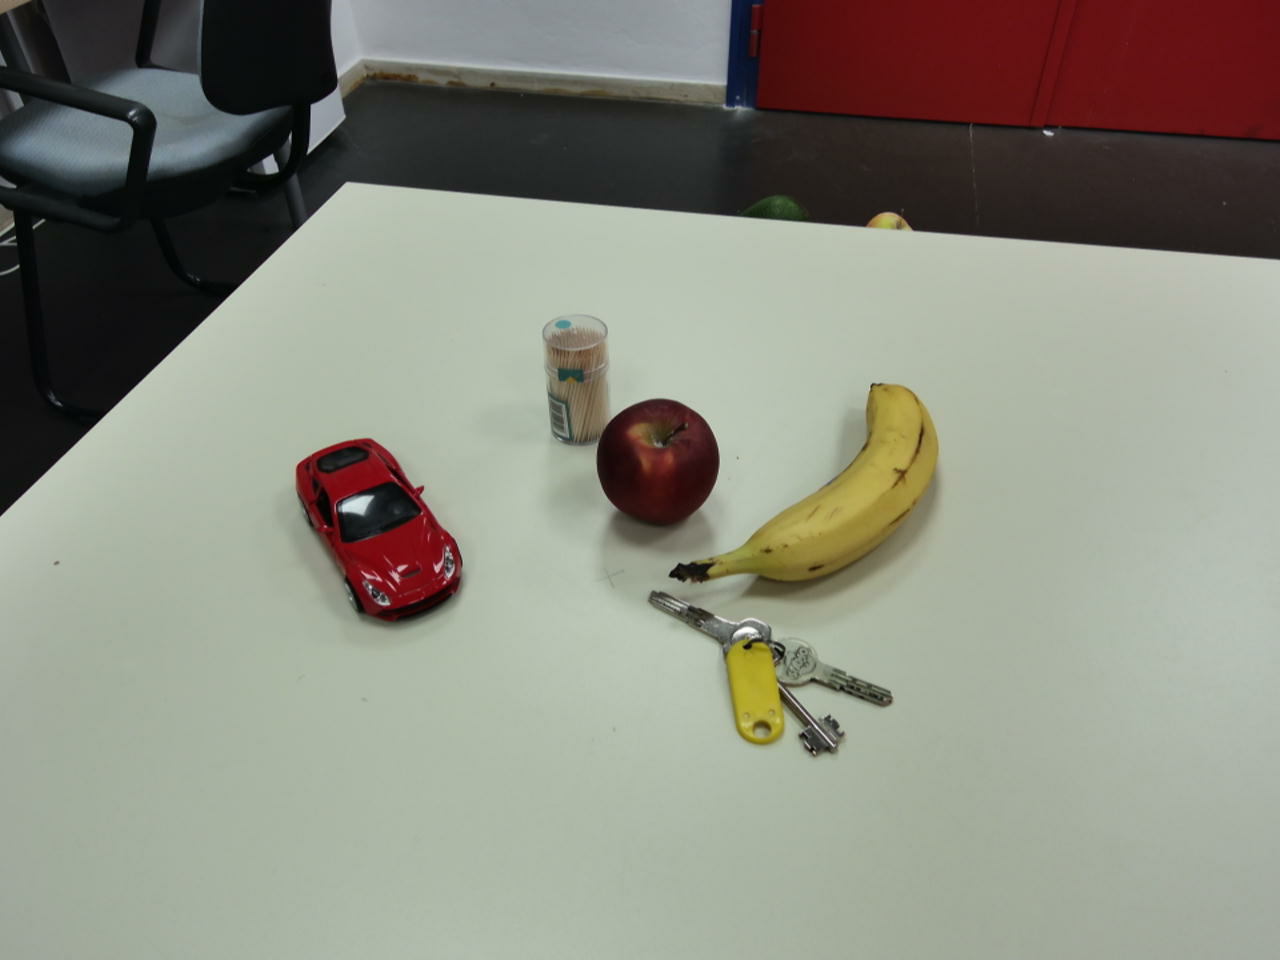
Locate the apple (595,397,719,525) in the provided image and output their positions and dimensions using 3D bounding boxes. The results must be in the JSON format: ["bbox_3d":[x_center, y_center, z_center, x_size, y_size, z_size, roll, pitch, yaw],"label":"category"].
[{"bbox_3d":[0.010,-0.008,0.559,0.070,0.072,0.070,1,39,-1],"label":"apple"}]
